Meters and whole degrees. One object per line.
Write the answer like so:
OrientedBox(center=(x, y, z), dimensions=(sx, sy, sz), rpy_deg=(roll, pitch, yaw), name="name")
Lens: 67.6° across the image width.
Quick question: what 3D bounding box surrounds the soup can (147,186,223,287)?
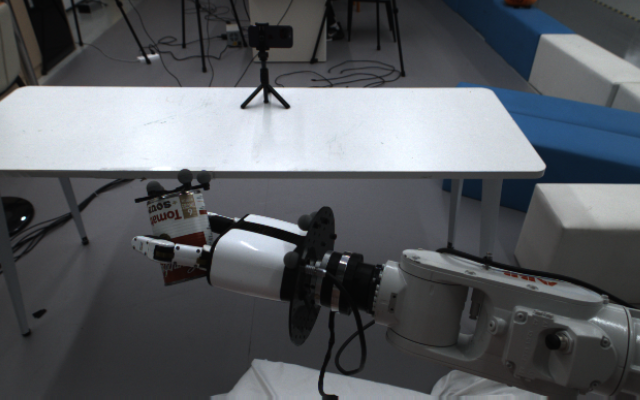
OrientedBox(center=(-0.162, 0.046, 0.581), dimensions=(0.067, 0.101, 0.067), rpy_deg=(-14, -2, -1), name="soup can")
